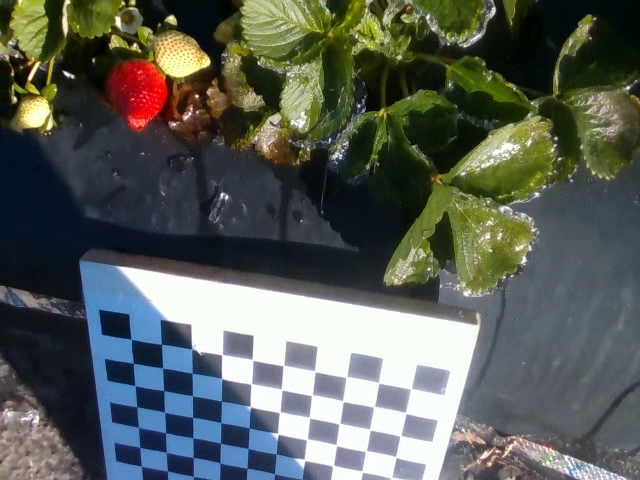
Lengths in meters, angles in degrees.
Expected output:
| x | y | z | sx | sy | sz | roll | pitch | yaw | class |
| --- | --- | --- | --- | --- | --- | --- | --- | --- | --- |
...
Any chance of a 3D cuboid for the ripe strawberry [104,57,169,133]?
| x | y | z | sx | sy | sz | roll | pitch | yaw | class |
| --- | --- | --- | --- | --- | --- | --- | --- | --- | --- |
| -0.108 | -0.082 | 0.360 | 0.040 | 0.053 | 0.042 | -26 | -42 | 18 | ripe strawberry |
